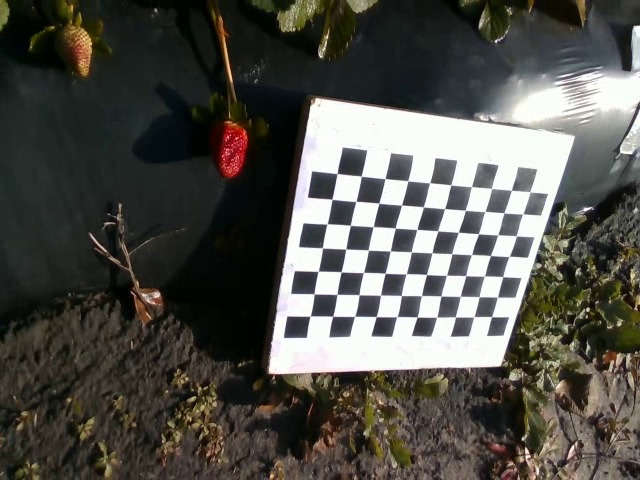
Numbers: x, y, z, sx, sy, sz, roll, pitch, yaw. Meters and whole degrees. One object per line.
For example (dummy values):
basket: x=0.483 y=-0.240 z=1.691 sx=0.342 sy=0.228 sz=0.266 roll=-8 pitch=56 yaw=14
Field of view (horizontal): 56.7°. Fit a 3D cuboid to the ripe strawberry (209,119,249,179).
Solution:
ripe strawberry: x=-0.028 y=-0.028 z=0.175 sx=0.015 sy=0.023 sz=0.015 roll=11 pitch=-34 yaw=-25
